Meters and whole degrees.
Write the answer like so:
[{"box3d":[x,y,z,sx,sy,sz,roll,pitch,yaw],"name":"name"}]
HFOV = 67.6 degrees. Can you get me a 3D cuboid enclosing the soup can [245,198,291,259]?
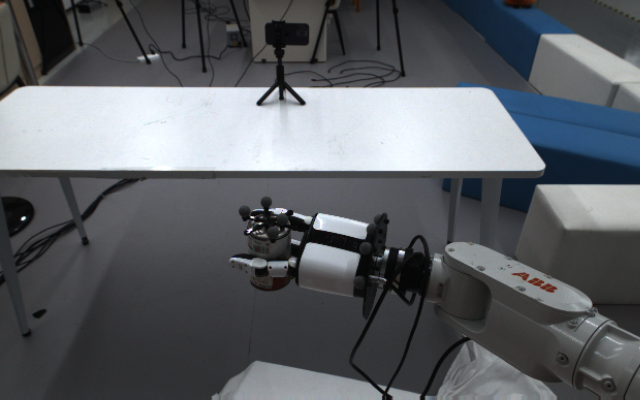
[{"box3d":[-0.076,0.082,0.744,0.067,0.101,0.067,2,32,-1],"name":"soup can"}]
